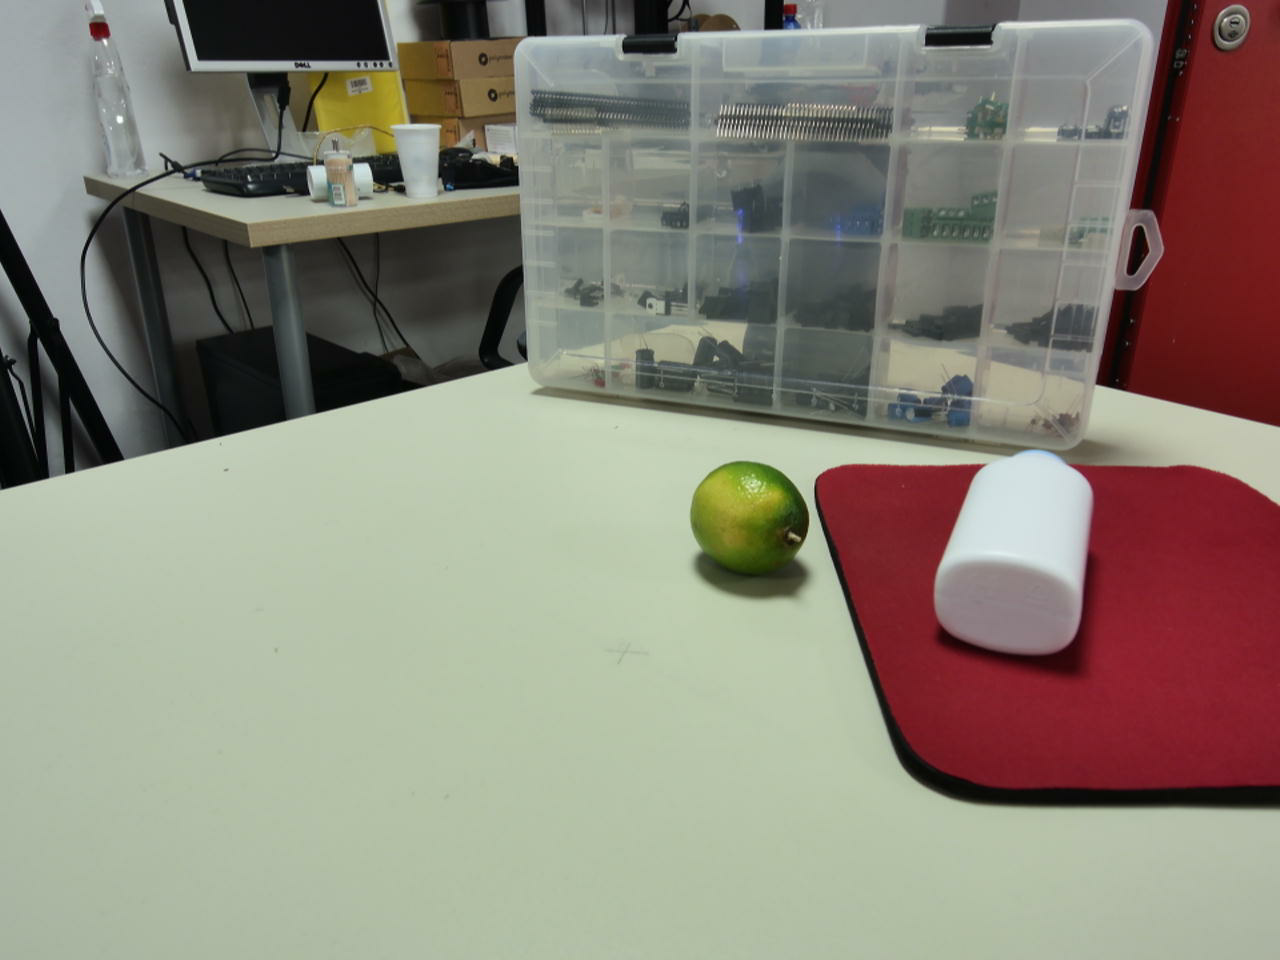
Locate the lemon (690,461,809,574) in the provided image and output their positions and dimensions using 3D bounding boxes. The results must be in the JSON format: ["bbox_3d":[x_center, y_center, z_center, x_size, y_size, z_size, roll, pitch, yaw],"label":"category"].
[{"bbox_3d":[0.050,0.017,0.463,0.054,0.050,0.055,4,22,10],"label":"lemon"}]
